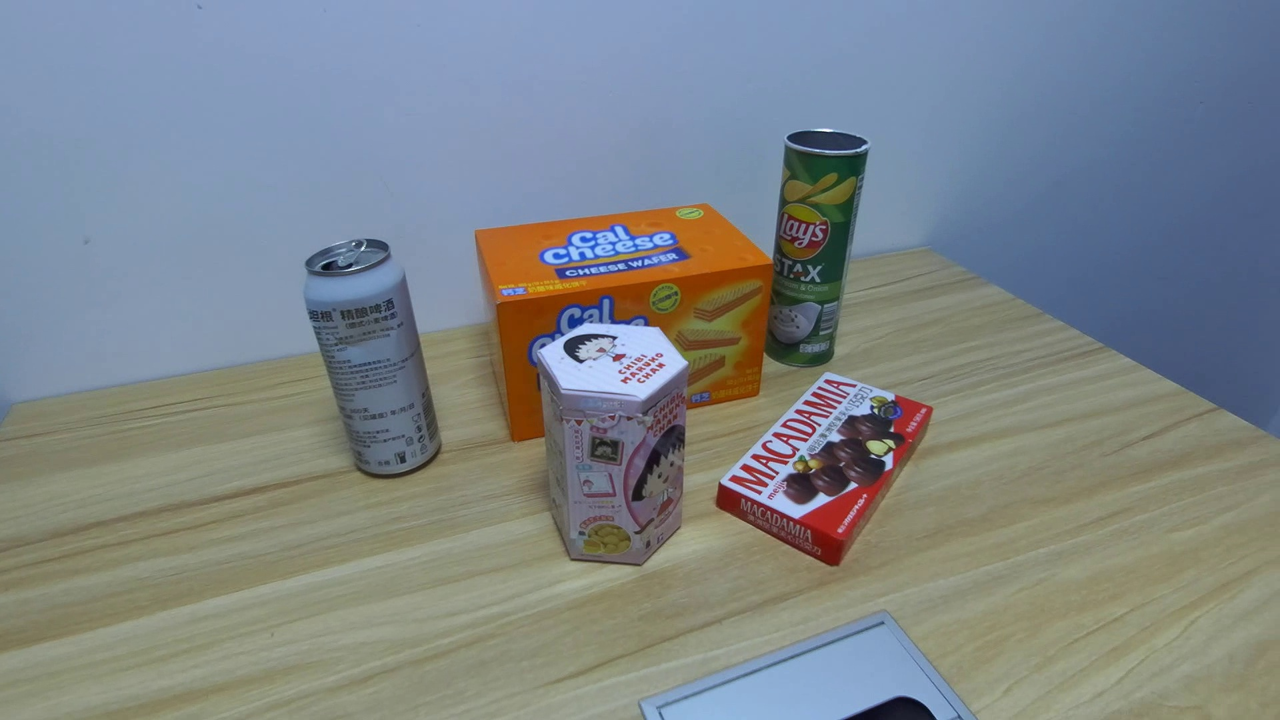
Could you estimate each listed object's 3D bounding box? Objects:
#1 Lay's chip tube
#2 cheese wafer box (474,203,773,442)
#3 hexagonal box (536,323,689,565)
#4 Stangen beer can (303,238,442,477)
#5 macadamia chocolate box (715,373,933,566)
[{"bbox_3d":[0.153,-0.095,0.627,0.071,0.203,0.071,0,32,0],"label":"Lay's chip tube"},{"bbox_3d":[-0.017,-0.041,0.614,0.222,0.129,0.147,-10,34,-14],"label":"cheese wafer box"},{"bbox_3d":[-0.015,0.054,0.450,0.083,0.136,0.091,21,38,30],"label":"hexagonal box"},{"bbox_3d":[-0.192,0.000,0.507,0.070,0.173,0.069,-20,36,-29],"label":"Stangen beer can"},{"bbox_3d":[0.143,0.071,0.528,0.095,0.027,0.178,22,38,31],"label":"macadamia chocolate box"}]
